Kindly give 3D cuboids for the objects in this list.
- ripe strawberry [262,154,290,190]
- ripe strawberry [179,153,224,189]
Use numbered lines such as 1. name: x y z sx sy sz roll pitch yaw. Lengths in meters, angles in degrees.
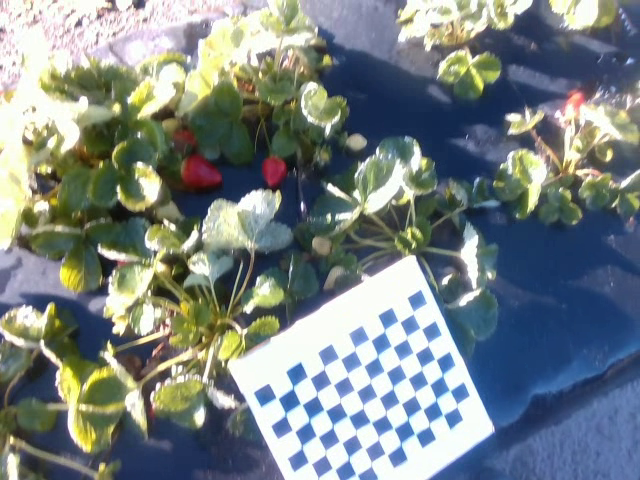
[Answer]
1. ripe strawberry: -0.059 -0.090 0.732 0.039 0.047 0.040 11 -16 -16
2. ripe strawberry: -0.153 -0.087 0.719 0.056 0.044 0.040 22 -8 -15
